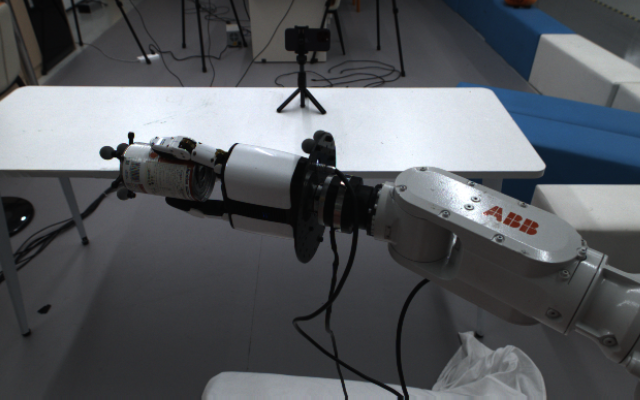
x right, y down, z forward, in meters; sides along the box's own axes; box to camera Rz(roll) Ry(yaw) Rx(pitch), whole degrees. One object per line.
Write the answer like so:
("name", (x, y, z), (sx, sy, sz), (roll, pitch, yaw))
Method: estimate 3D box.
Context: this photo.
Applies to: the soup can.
("soup can", (-0.194, -0.036, 0.628), (0.101, 0.067, 0.067), (8, 35, 10))
